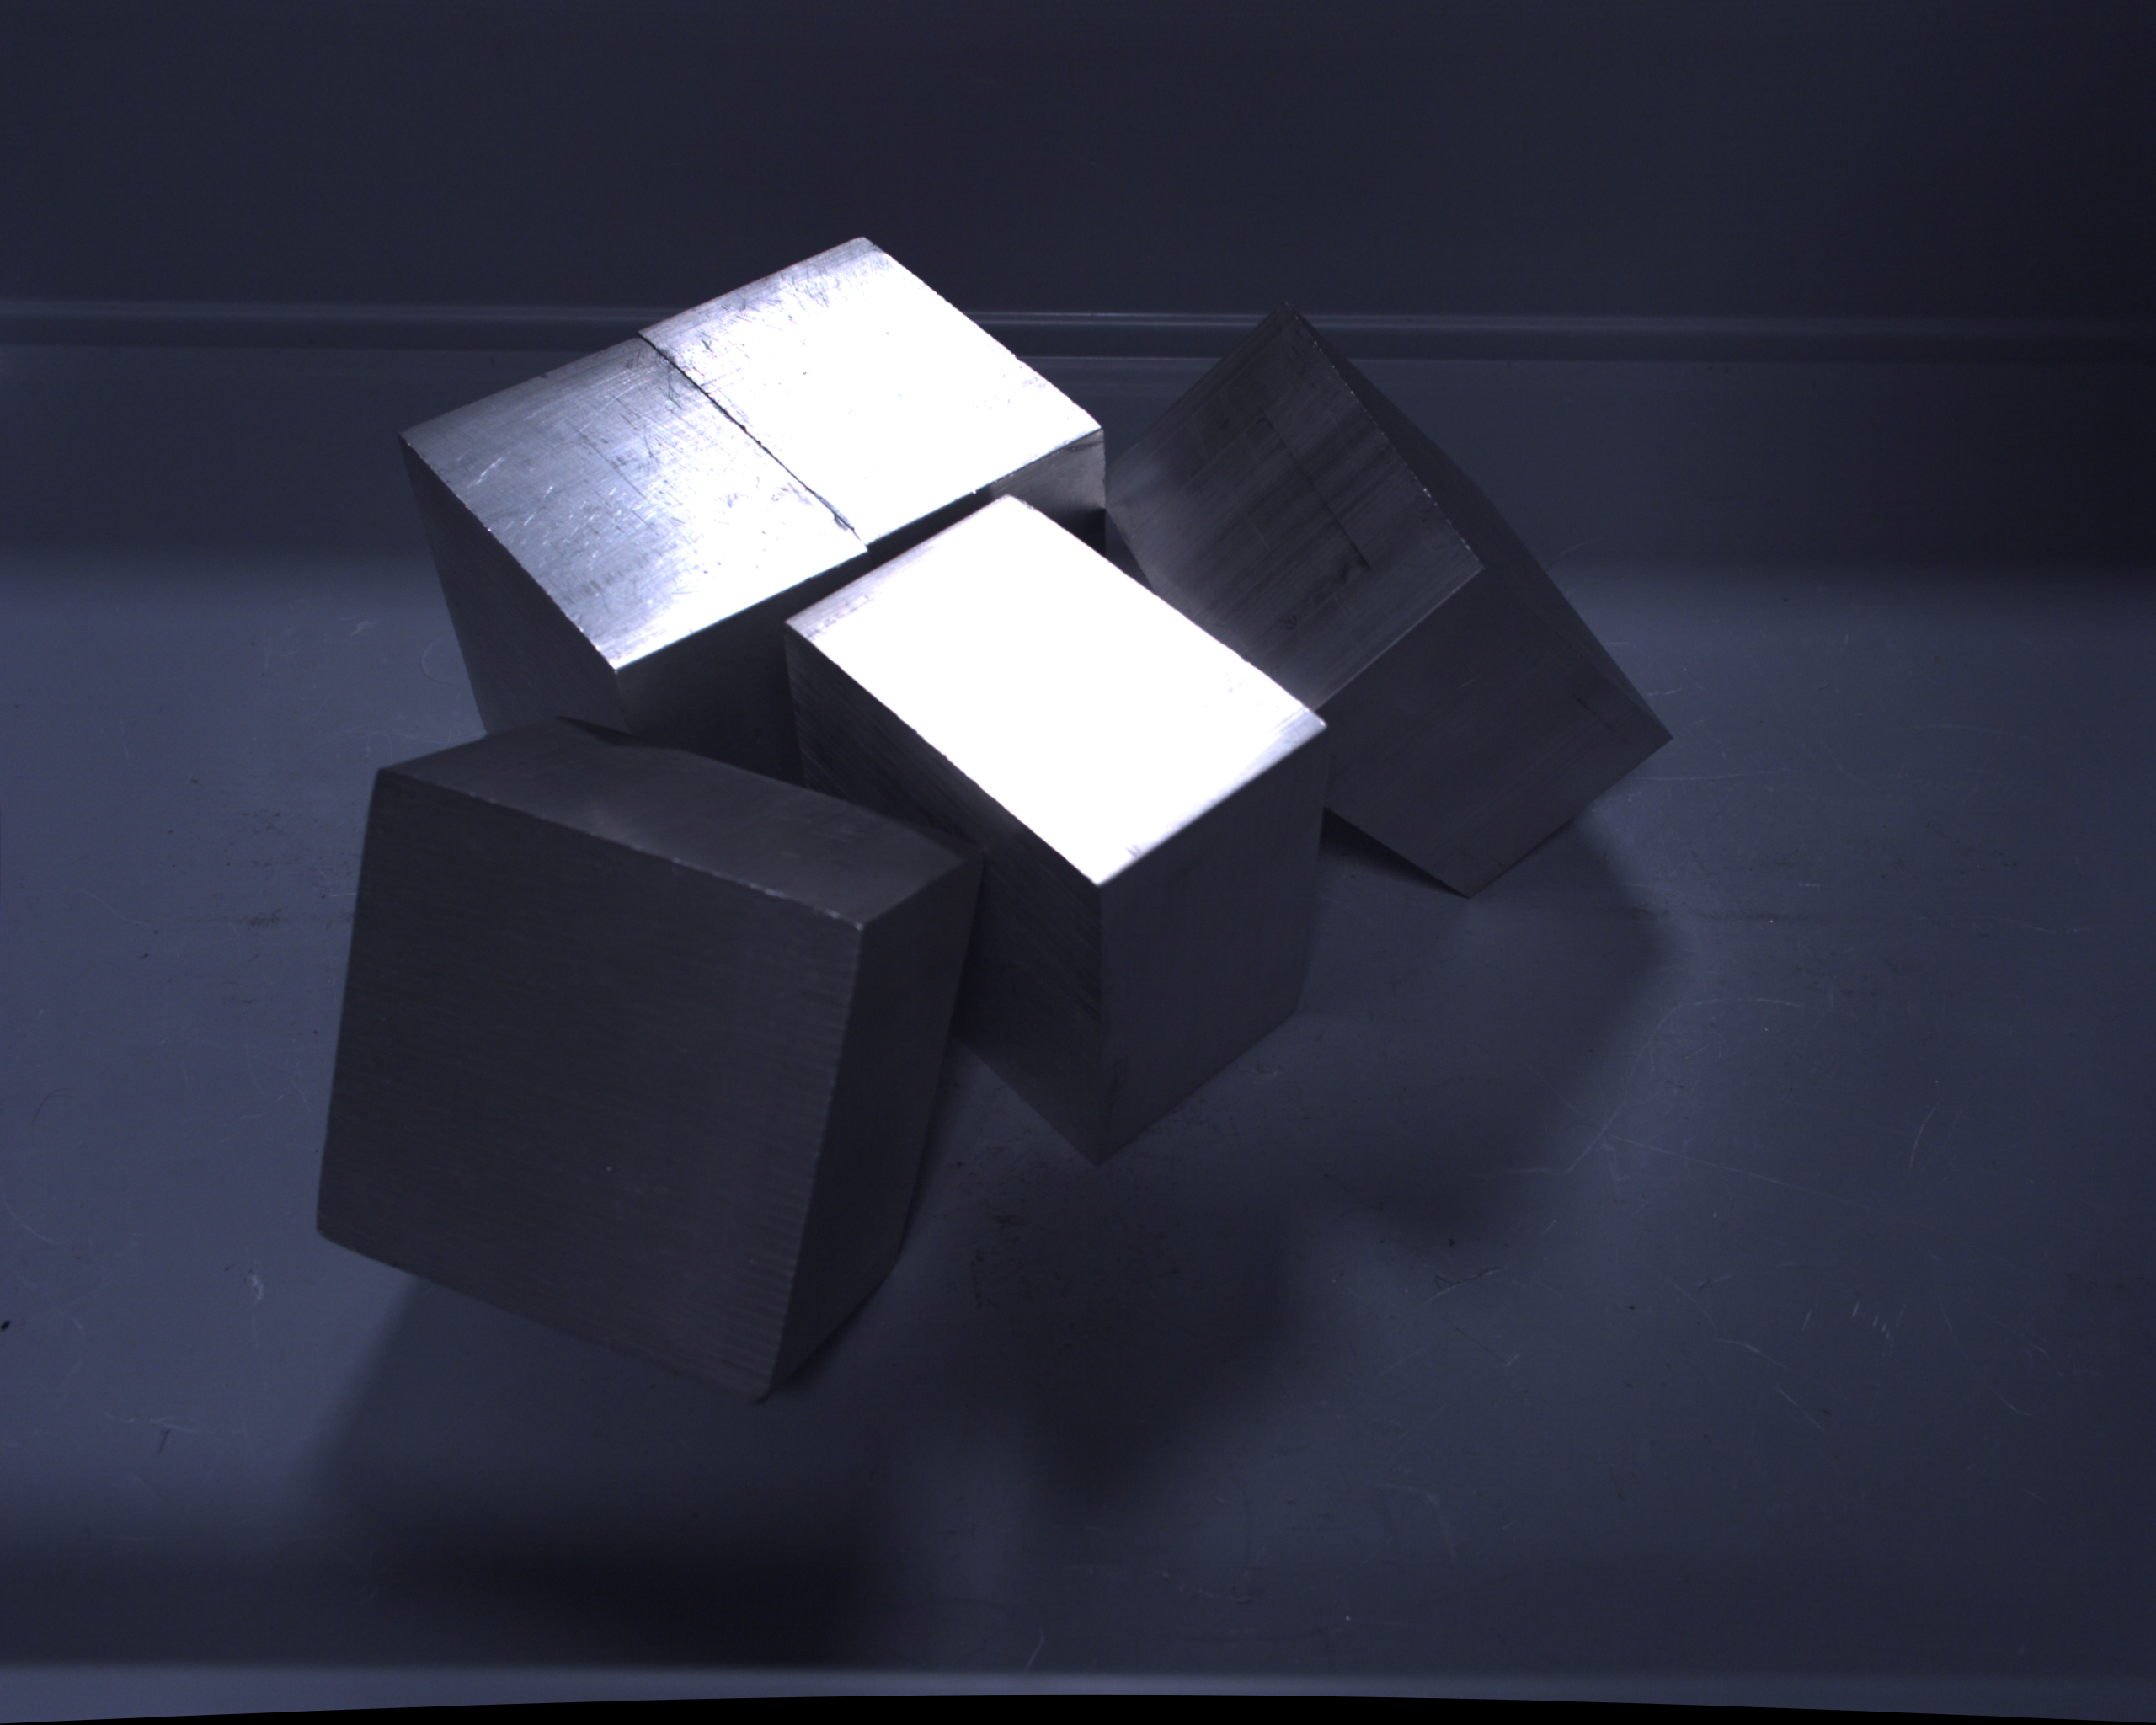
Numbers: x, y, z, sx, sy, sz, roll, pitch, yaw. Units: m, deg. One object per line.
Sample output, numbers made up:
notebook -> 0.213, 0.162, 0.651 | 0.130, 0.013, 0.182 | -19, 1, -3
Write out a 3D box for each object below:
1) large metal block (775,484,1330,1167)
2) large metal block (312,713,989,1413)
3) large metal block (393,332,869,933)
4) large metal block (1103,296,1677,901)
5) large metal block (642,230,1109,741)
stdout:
large metal block -> -0.005, -0.006, 0.372 | 0.050, 0.080, 0.080 | -34, 58, -25
large metal block -> -0.068, 0.029, 0.334 | 0.080, 0.079, 0.050 | 17, 17, 13
large metal block -> -0.081, -0.041, 0.401 | 0.050, 0.080, 0.080 | -31, 57, -23
large metal block -> 0.058, -0.049, 0.401 | 0.050, 0.080, 0.080 | -41, 51, 18
large metal block -> -0.039, -0.067, 0.423 | 0.050, 0.080, 0.080 | -32, 57, -24
